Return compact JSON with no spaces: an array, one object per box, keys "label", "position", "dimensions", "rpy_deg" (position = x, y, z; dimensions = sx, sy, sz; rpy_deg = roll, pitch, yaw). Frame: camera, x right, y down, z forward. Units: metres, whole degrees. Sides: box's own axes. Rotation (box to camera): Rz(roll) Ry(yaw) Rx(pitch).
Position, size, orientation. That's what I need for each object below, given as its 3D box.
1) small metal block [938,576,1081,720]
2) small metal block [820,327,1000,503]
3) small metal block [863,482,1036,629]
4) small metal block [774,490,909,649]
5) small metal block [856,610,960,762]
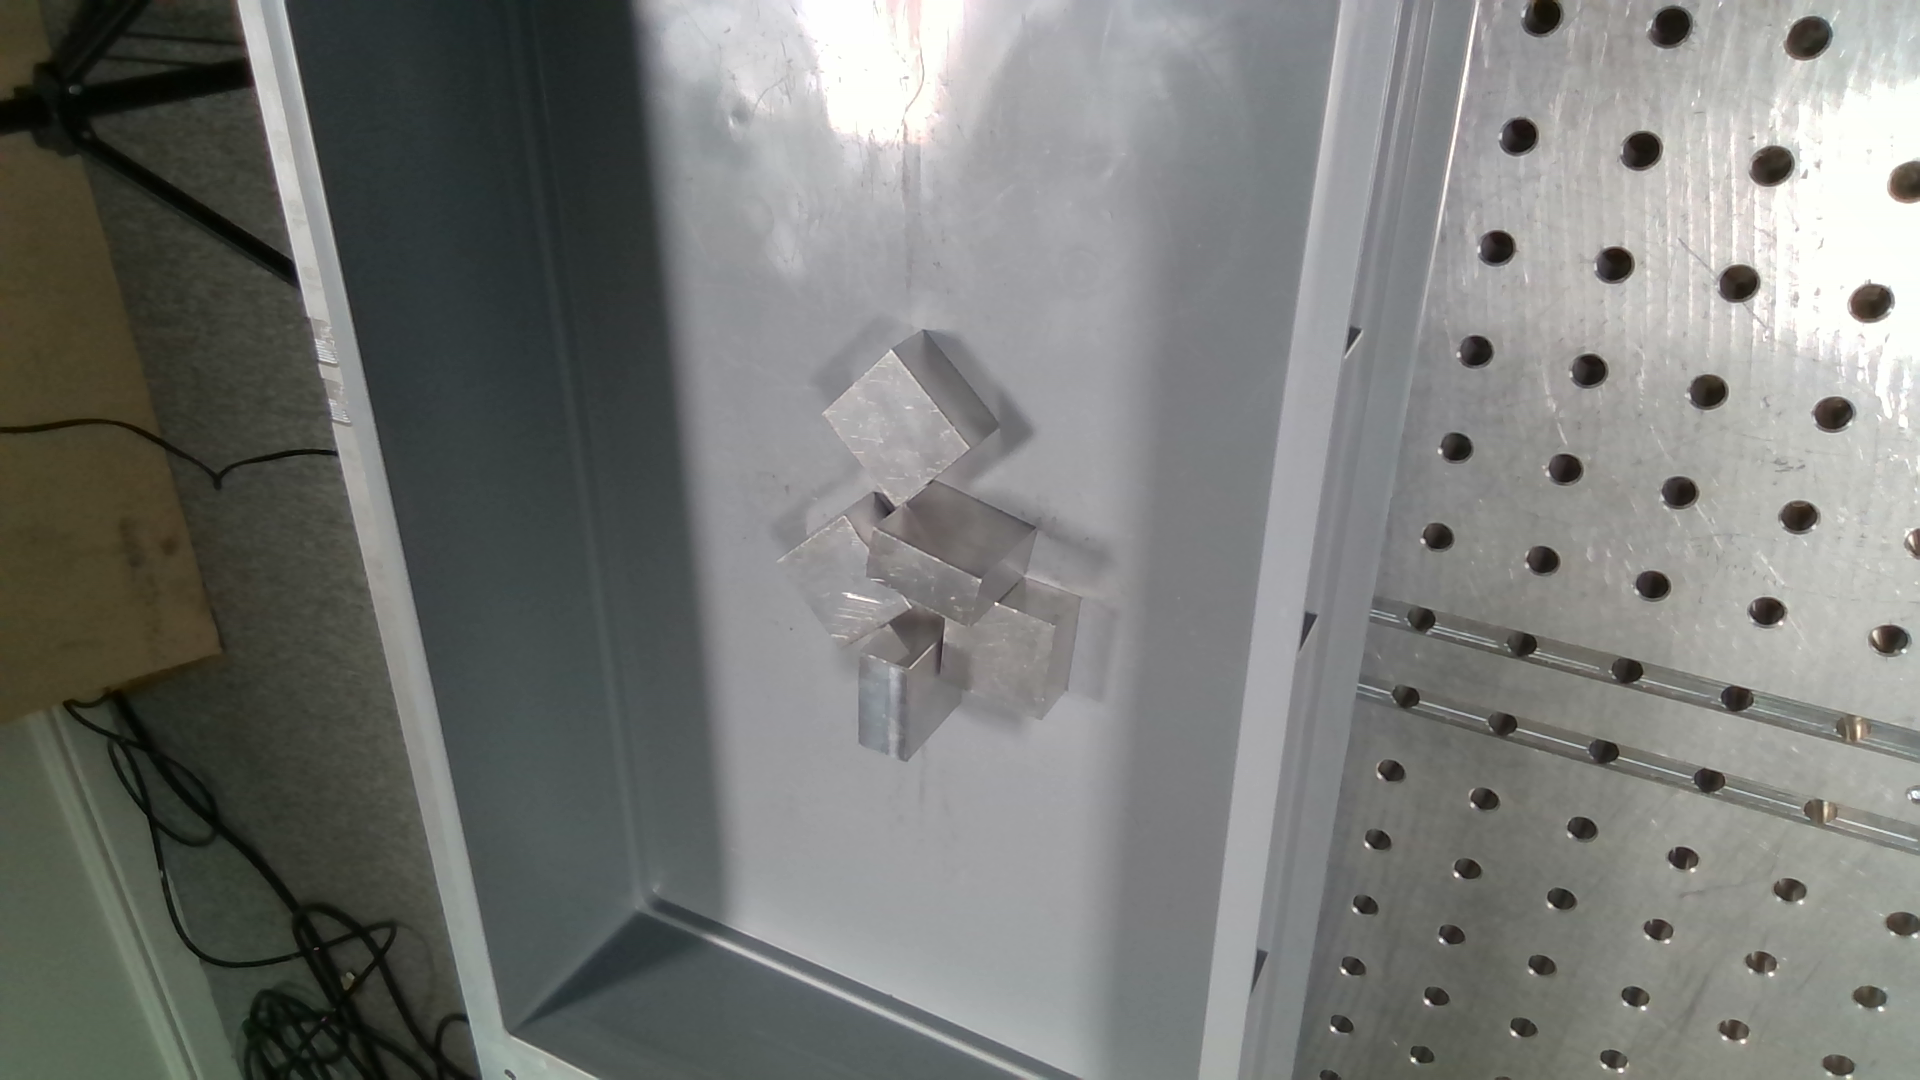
[{"label":"small metal block","position":[0.020,0.042,0.589],"dimensions":[0.050,0.025,0.050],"rpy_deg":[20,124,21]},{"label":"small metal block","position":[-0.021,-0.050,0.564],"dimensions":[0.050,0.025,0.050],"rpy_deg":[51,129,-2]},{"label":"small metal block","position":[-0.004,0.005,0.566],"dimensions":[0.050,0.050,0.025],"rpy_deg":[25,126,18]},{"label":"small metal block","position":[-0.046,0.014,0.613],"dimensions":[0.050,0.025,0.050],"rpy_deg":[-31,97,39]},{"label":"small metal block","position":[-0.022,0.061,0.608],"dimensions":[0.025,0.050,0.050],"rpy_deg":[17,123,23]}]
